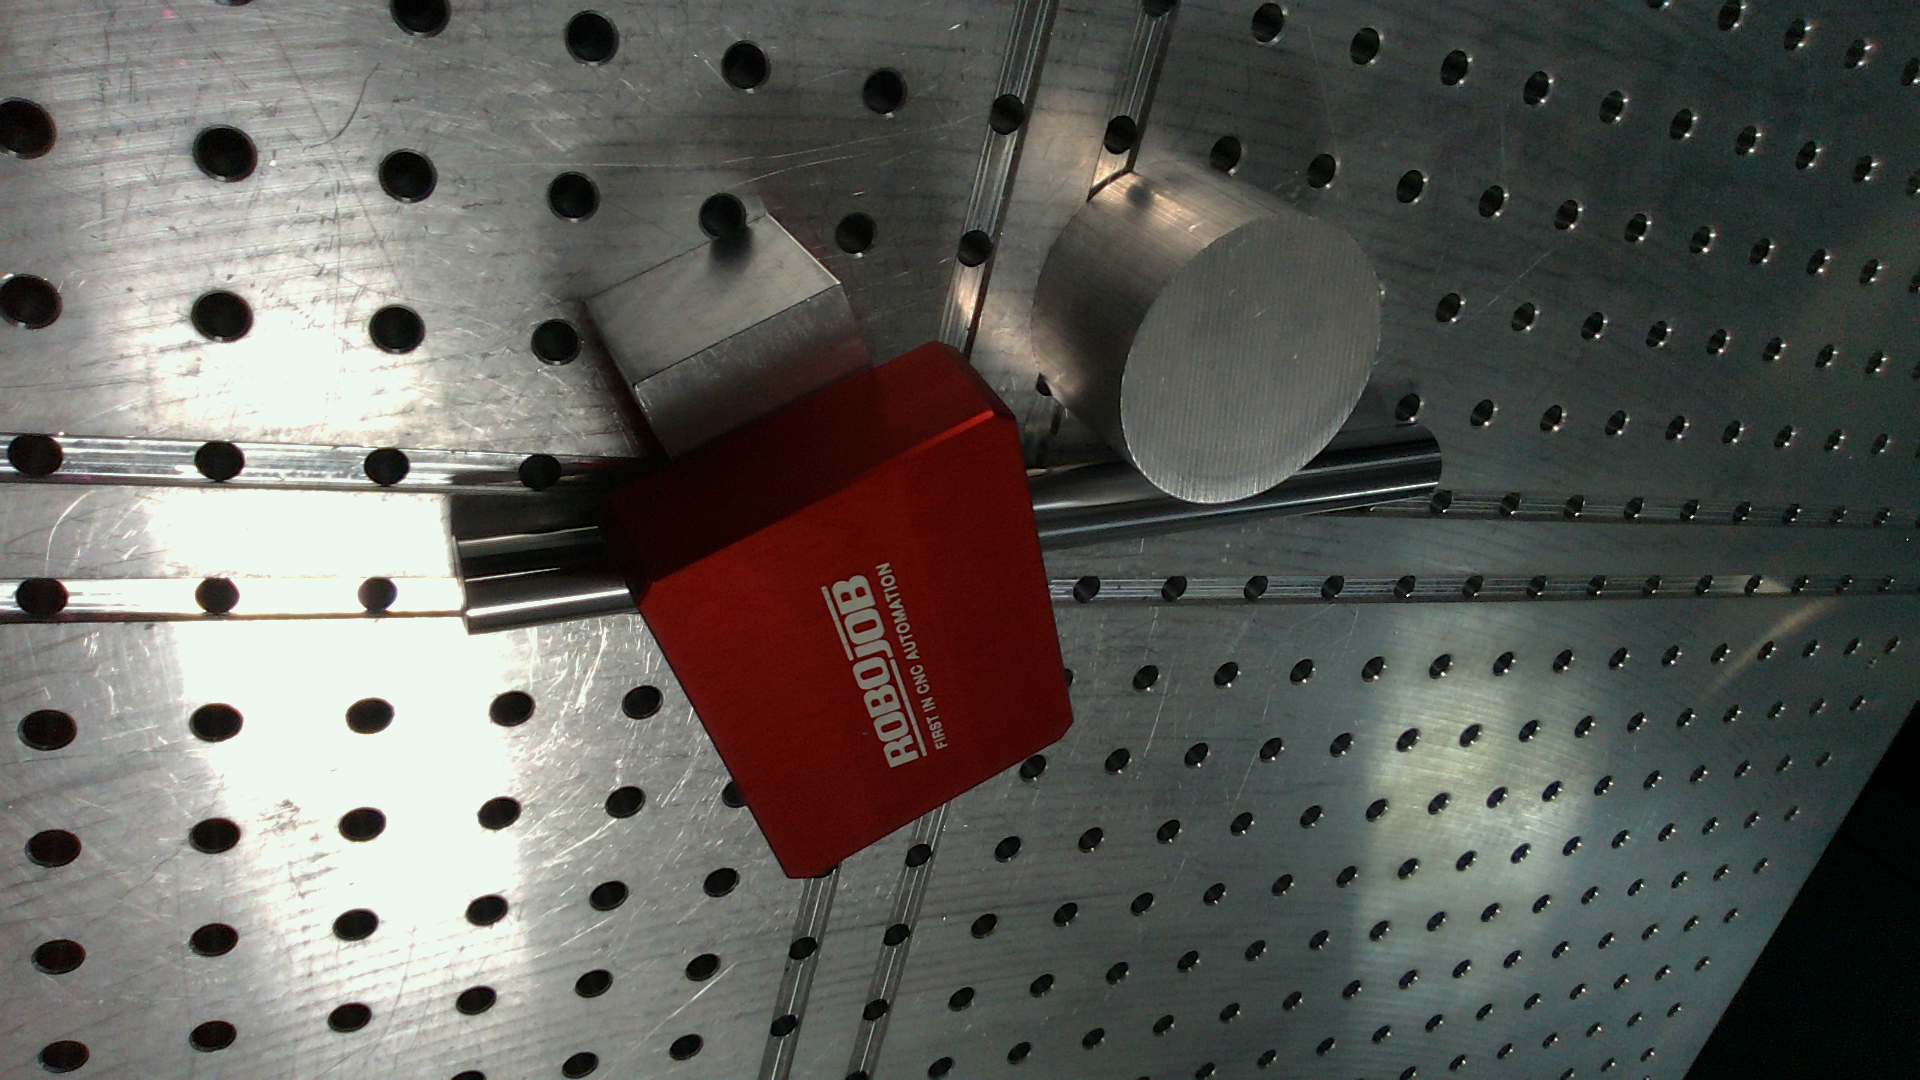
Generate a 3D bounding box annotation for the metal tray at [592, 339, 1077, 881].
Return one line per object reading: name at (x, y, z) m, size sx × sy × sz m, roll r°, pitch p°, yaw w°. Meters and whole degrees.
metal tray at (-0.023, 0.023, 0.341) m, size 0.090 × 0.030 × 0.130 m, roll -27°, pitch 139°, yaw -11°

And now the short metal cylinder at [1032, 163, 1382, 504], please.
short metal cylinder at (0.067, -0.057, 0.377) m, size 0.080 × 0.050 × 0.080 m, roll -14°, pitch 124°, yaw -21°

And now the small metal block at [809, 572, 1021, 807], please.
small metal block at (-0.013, 0.044, 0.411) m, size 0.050 × 0.025 × 0.050 m, roll -21°, pitch 127°, yaw -16°

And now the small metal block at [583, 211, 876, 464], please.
small metal block at (-0.054, -0.047, 0.318) m, size 0.050 × 0.050 × 0.025 m, roll -28°, pitch 128°, yaw -10°

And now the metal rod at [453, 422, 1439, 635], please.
metal rod at (0.015, -0.008, 0.395) m, size 0.301 × 0.025 × 0.025 m, roll -8°, pitch 122°, yaw -24°
